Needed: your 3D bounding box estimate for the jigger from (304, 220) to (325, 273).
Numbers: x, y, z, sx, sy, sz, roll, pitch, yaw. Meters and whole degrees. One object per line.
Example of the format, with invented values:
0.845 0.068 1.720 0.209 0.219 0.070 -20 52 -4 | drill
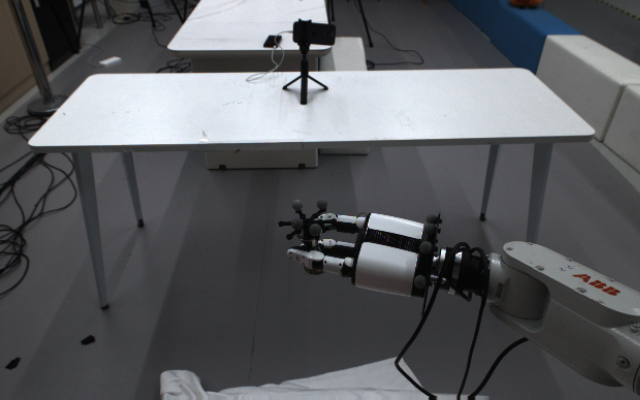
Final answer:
-0.009 0.074 0.754 0.043 0.071 0.043 -9 31 5 | jigger
